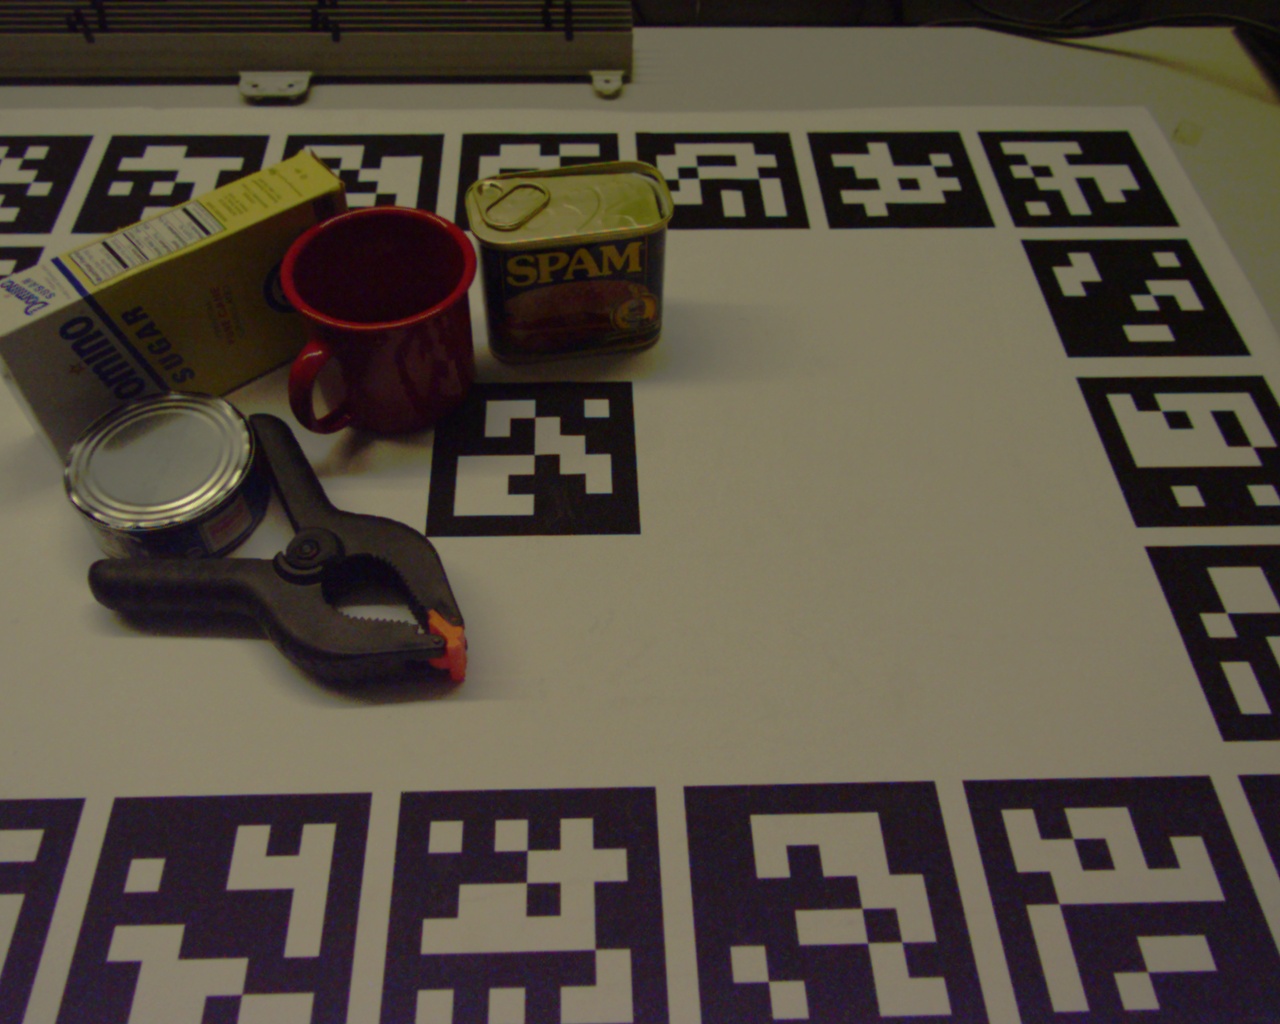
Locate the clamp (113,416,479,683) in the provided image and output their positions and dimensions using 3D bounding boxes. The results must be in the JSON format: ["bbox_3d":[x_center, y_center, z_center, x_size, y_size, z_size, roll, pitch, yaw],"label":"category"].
[{"bbox_3d":[-0.146,0.028,0.536,0.166,0.036,0.121,30,53,14],"label":"clamp"}]

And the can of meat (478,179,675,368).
[{"bbox_3d":[-0.037,-0.130,0.631,0.101,0.083,0.058,-7,52,-10],"label":"can of meat"}]

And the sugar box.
[{"bbox_3d":[-0.226,-0.102,0.596,0.175,0.092,0.046,-33,60,-26],"label":"sugar box"}]

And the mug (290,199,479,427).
[{"bbox_3d":[-0.133,-0.093,0.589,0.094,0.081,0.117,20,56,11],"label":"mug"}]

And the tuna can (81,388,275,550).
[{"bbox_3d":[-0.226,-0.018,0.562,0.085,0.033,0.086,1,55,-2],"label":"tuna can"}]
